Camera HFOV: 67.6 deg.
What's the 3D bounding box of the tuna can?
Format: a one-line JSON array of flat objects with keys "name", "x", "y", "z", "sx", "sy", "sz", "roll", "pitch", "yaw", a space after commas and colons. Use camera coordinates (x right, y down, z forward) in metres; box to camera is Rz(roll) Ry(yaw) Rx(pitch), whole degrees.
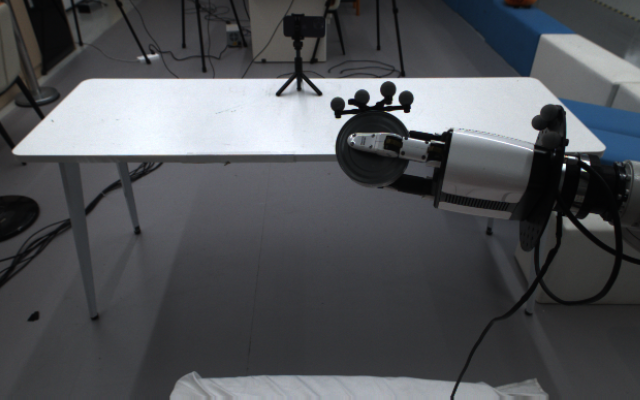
[{"name": "tuna can", "x": 0.063, "y": -0.059, "z": 0.560, "sx": 0.085, "sy": 0.085, "sz": 0.034, "roll": 10, "pitch": -7, "yaw": 12}]
